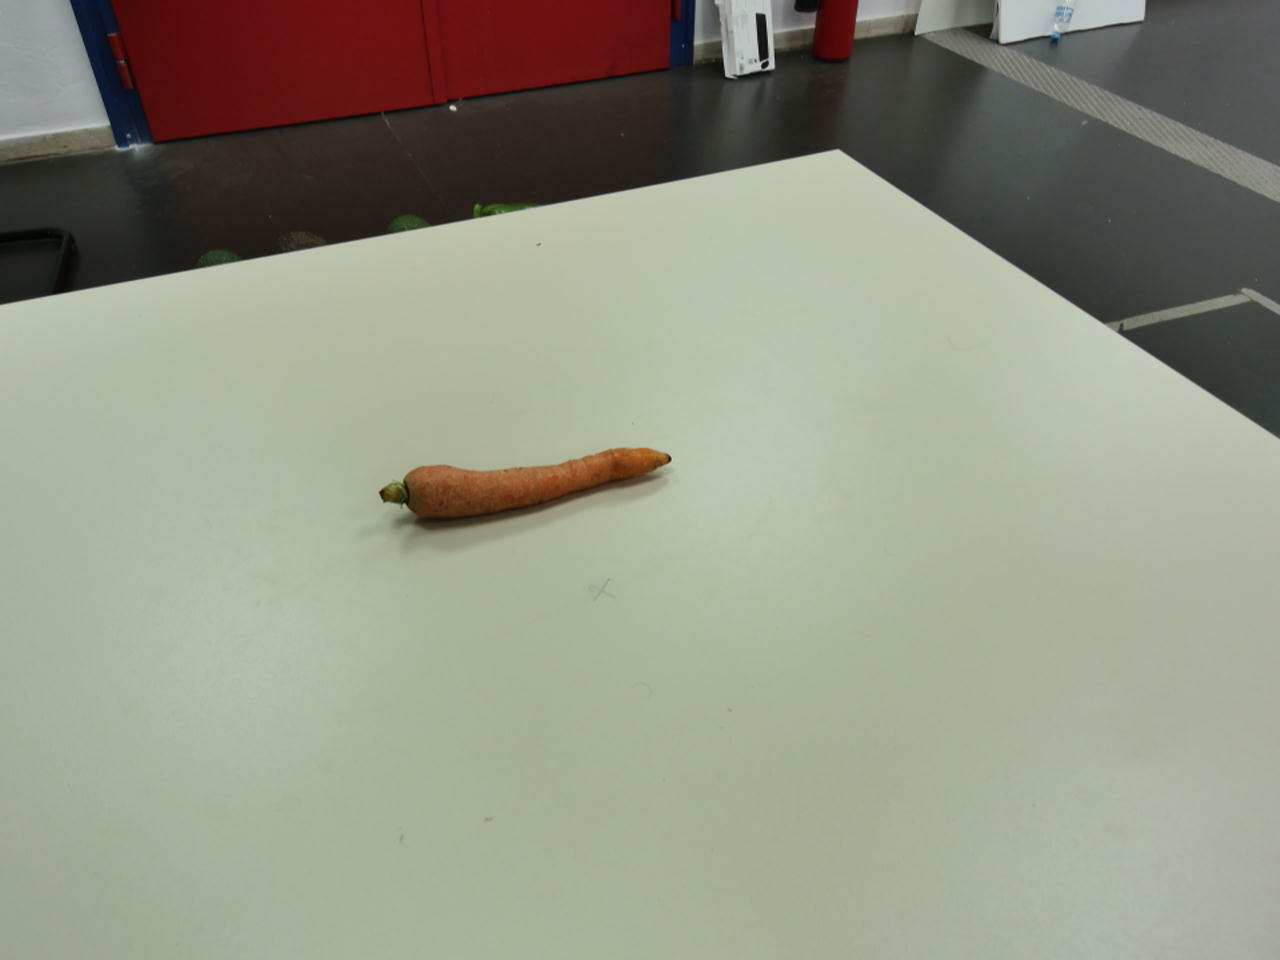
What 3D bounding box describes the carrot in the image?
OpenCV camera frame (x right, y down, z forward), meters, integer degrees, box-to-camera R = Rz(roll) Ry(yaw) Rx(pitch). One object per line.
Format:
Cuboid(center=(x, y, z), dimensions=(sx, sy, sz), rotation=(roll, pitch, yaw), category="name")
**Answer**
Cuboid(center=(-0.060, -0.002, 0.573), dimensions=(0.173, 0.032, 0.030), rotation=(-9, 40, -12), category="carrot")
